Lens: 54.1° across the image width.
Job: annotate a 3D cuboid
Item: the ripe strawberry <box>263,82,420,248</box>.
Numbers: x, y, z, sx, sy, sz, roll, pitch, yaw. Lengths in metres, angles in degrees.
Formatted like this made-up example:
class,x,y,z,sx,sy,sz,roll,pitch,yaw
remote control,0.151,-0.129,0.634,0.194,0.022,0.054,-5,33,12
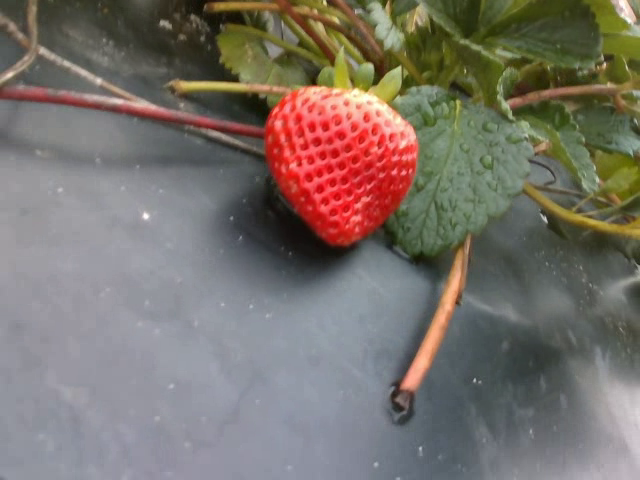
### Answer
class,x,y,z,sx,sy,sz,roll,pitch,yaw
ripe strawberry,0.008,-0.025,0.204,0.049,0.065,0.061,-9,-24,43
